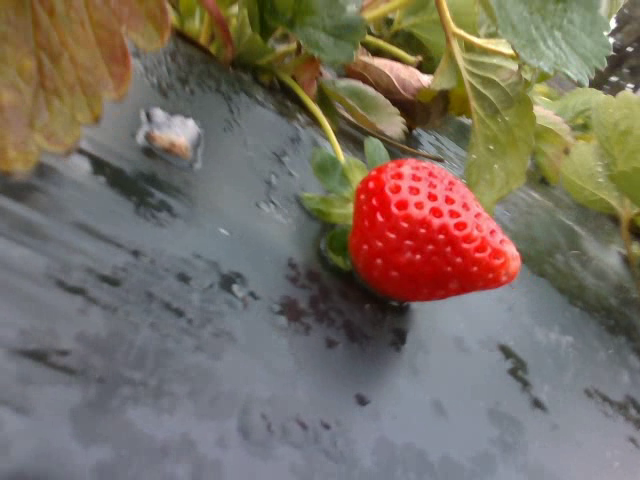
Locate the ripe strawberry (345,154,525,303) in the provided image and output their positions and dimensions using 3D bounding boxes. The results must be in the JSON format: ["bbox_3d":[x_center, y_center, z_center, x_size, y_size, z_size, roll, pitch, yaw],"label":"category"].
[{"bbox_3d":[0.032,0.000,0.171,0.045,0.048,0.054,-8,28,-28],"label":"ripe strawberry"}]
